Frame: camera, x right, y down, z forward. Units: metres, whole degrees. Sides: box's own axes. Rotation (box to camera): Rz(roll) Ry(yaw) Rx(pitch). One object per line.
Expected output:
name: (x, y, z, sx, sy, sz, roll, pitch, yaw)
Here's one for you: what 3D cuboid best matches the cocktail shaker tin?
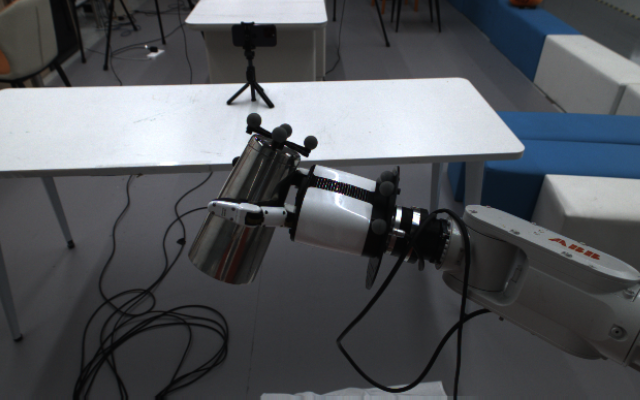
cocktail shaker tin: (-0.086, 0.008, 0.604, 0.093, 0.170, 0.093, 24, 12, -6)
